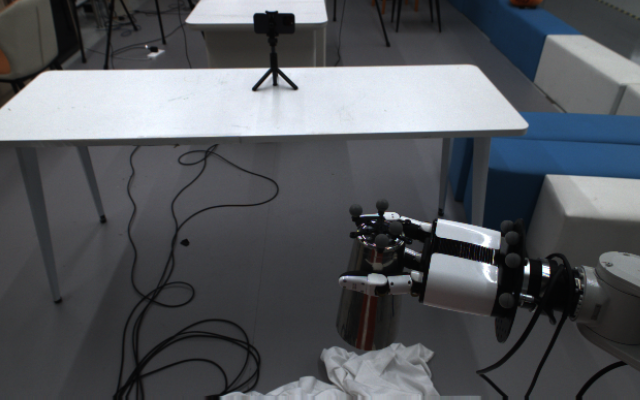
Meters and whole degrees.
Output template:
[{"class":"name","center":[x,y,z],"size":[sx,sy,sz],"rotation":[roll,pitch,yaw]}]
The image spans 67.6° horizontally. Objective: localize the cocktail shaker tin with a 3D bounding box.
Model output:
[{"class":"cocktail shaker tin","center":[0.076,0.112,0.671],"size":[0.093,0.170,0.093],"rotation":[3,33,-2]}]
